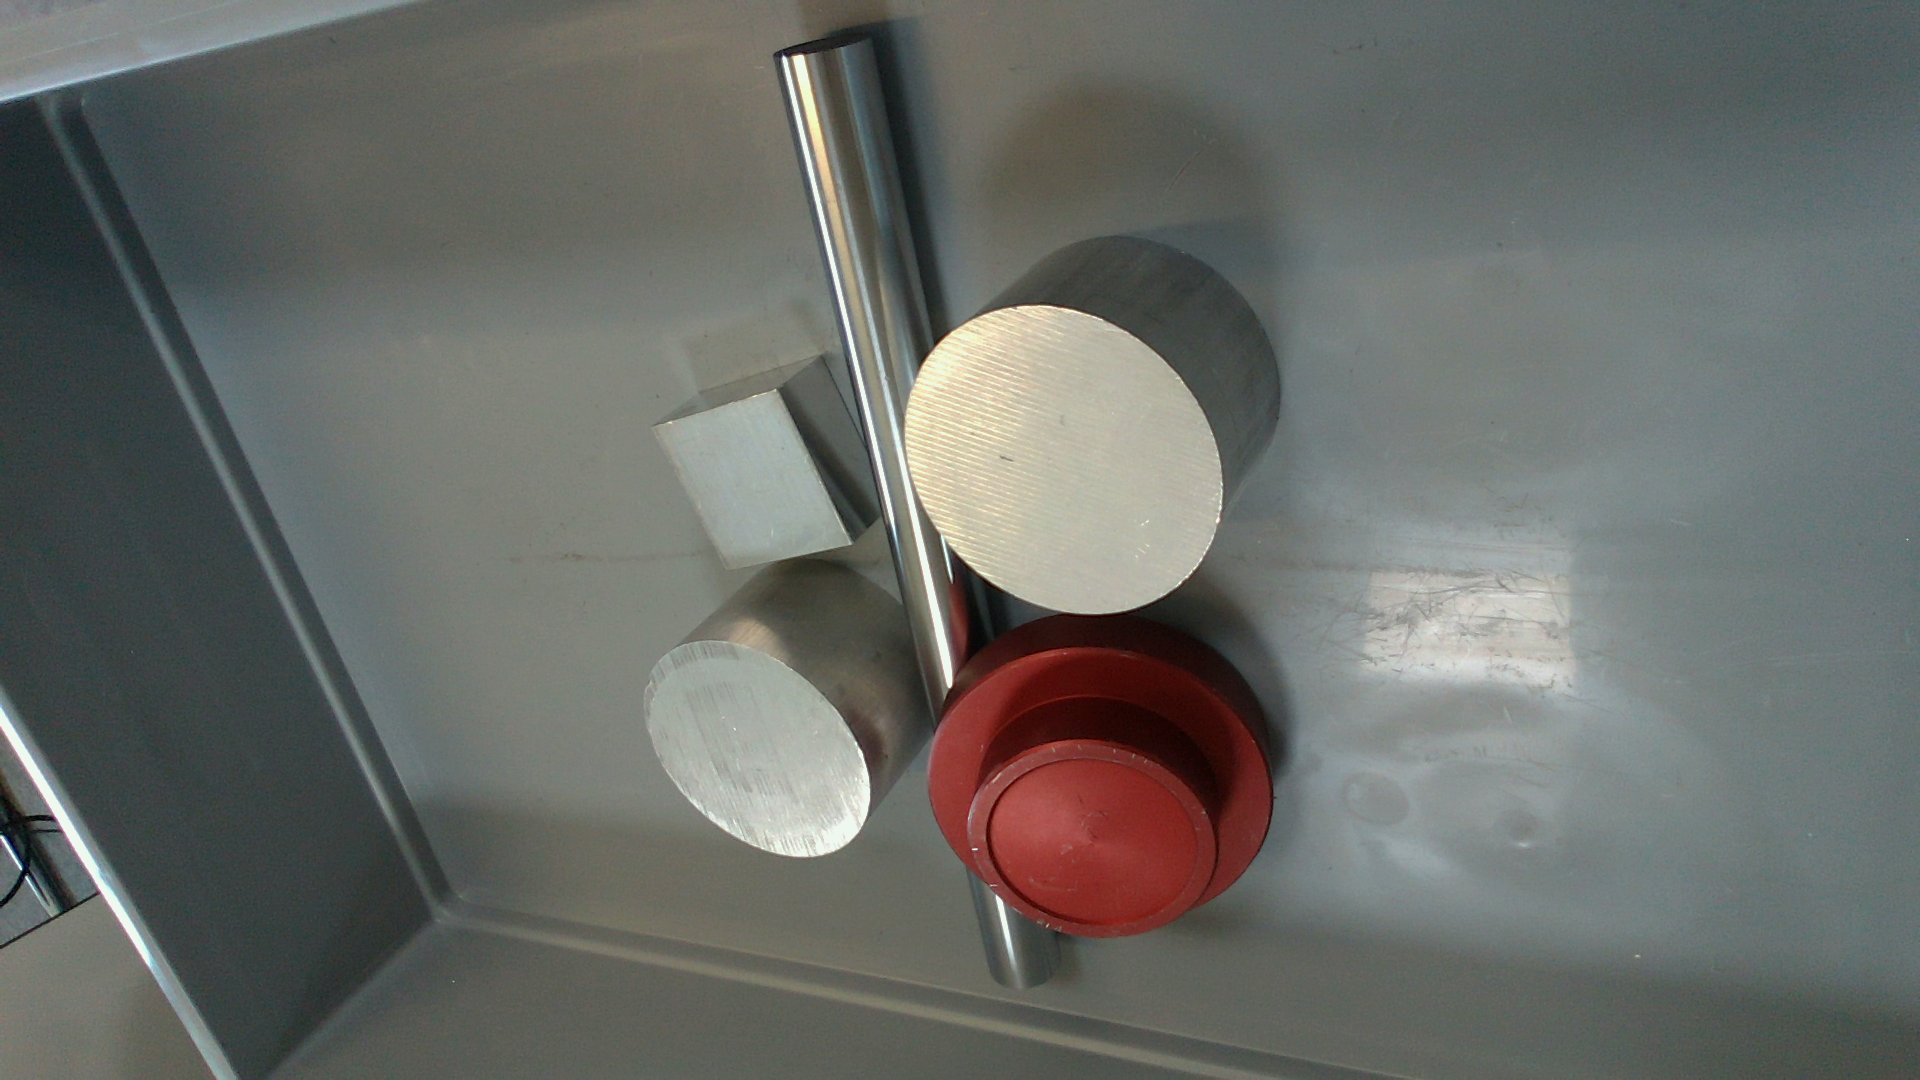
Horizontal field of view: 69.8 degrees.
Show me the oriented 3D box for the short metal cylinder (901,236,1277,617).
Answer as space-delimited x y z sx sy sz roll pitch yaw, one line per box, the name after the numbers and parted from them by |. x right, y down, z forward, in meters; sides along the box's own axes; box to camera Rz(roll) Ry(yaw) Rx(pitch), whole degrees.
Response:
0.032 -0.028 0.339 0.080 0.050 0.080 13 124 21 | short metal cylinder

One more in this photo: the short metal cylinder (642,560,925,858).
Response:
-0.052 0.053 0.435 0.080 0.050 0.080 13 124 21 | short metal cylinder

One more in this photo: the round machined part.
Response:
0.039 0.073 0.389 0.098 0.042 0.098 4 117 8 | round machined part

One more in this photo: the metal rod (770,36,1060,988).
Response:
-0.006 0.011 0.401 0.025 0.025 0.300 3 120 27 | metal rod

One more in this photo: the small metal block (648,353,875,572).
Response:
-0.056 -0.022 0.407 0.050 0.025 0.050 -12 112 33 | small metal block
